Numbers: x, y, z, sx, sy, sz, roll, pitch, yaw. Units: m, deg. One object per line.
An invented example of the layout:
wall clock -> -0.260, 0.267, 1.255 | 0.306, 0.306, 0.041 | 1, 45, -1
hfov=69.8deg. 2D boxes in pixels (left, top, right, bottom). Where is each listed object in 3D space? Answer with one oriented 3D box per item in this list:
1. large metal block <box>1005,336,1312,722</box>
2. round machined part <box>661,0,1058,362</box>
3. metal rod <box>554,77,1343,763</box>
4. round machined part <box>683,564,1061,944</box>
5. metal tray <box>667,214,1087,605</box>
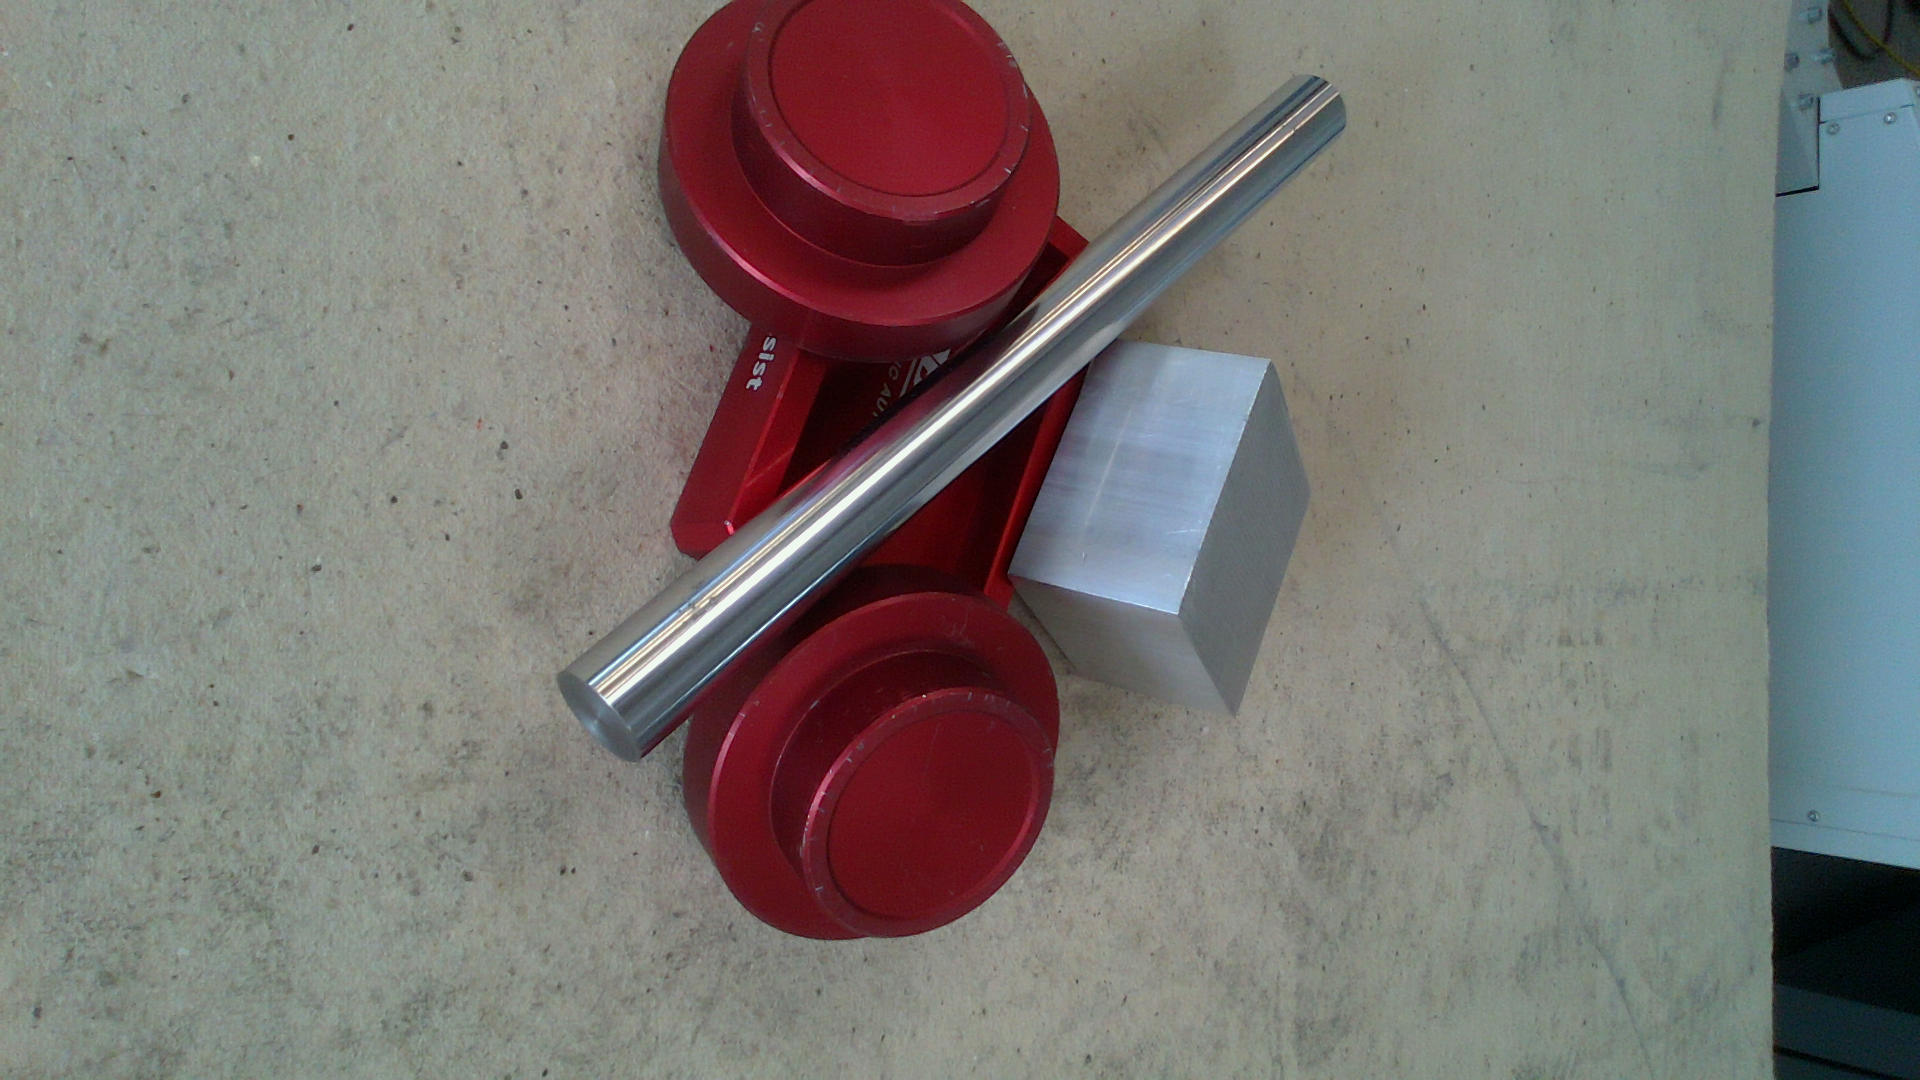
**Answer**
large metal block -> 0.062, -0.003, 0.406 | 0.080, 0.050, 0.080 | -67, 150, -19
round machined part -> -0.022, -0.096, 0.334 | 0.098, 0.042, 0.098 | 6, 69, -16
metal rod -> 0.018, -0.050, 0.366 | 0.301, 0.025, 0.025 | -43, 116, -31
round machined part -> -0.015, 0.059, 0.343 | 0.098, 0.042, 0.098 | -13, 117, -27
metal tray -> -0.013, -0.040, 0.374 | 0.090, 0.030, 0.130 | 31, 71, -36
